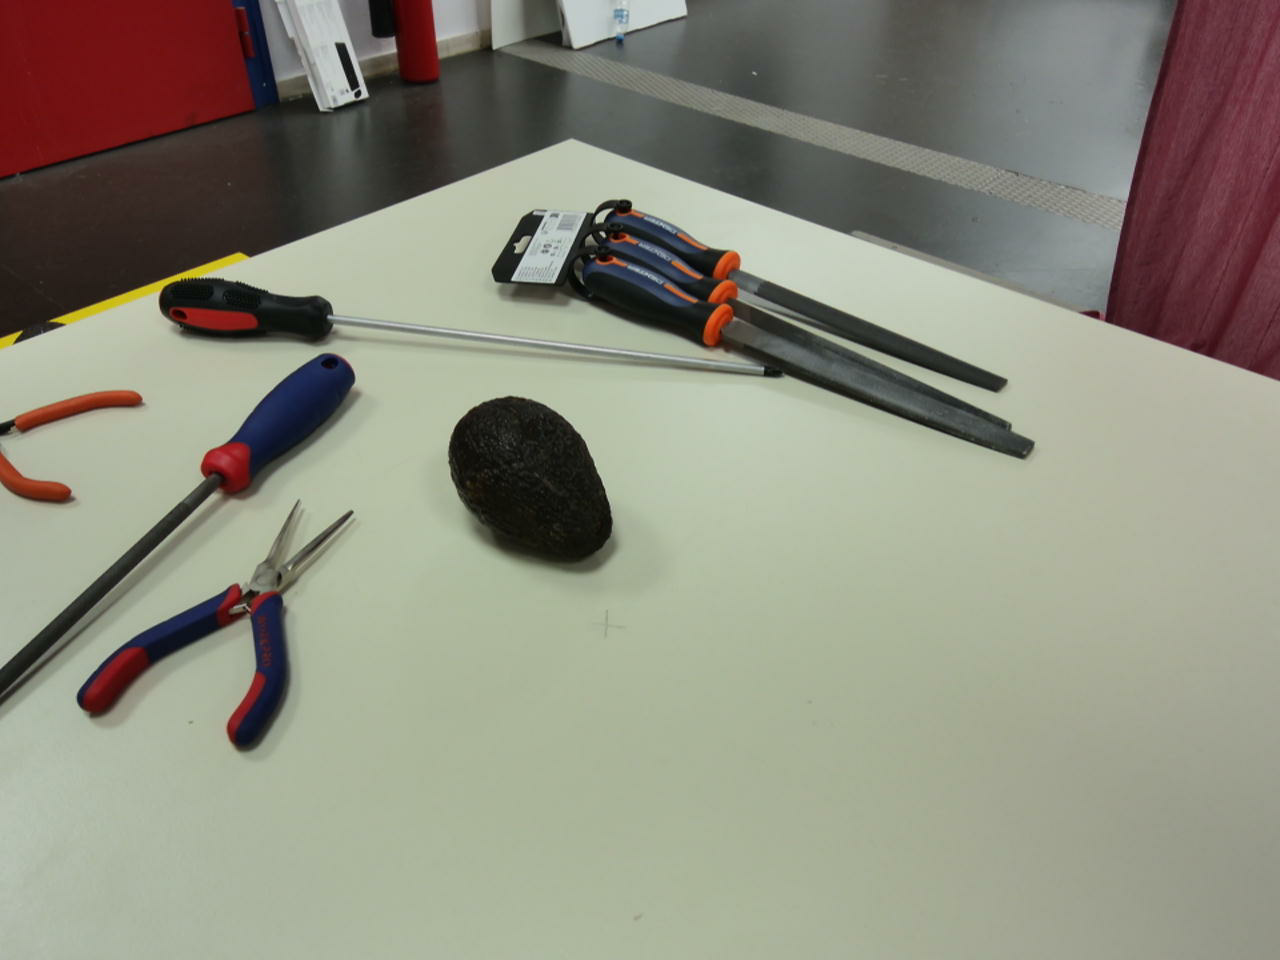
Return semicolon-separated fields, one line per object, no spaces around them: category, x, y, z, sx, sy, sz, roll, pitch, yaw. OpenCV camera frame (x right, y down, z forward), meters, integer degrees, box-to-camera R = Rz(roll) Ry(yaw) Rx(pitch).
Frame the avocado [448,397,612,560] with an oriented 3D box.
avocado;-0.057;-0.002;0.502;0.070;0.069;0.090;-14;40;-20
